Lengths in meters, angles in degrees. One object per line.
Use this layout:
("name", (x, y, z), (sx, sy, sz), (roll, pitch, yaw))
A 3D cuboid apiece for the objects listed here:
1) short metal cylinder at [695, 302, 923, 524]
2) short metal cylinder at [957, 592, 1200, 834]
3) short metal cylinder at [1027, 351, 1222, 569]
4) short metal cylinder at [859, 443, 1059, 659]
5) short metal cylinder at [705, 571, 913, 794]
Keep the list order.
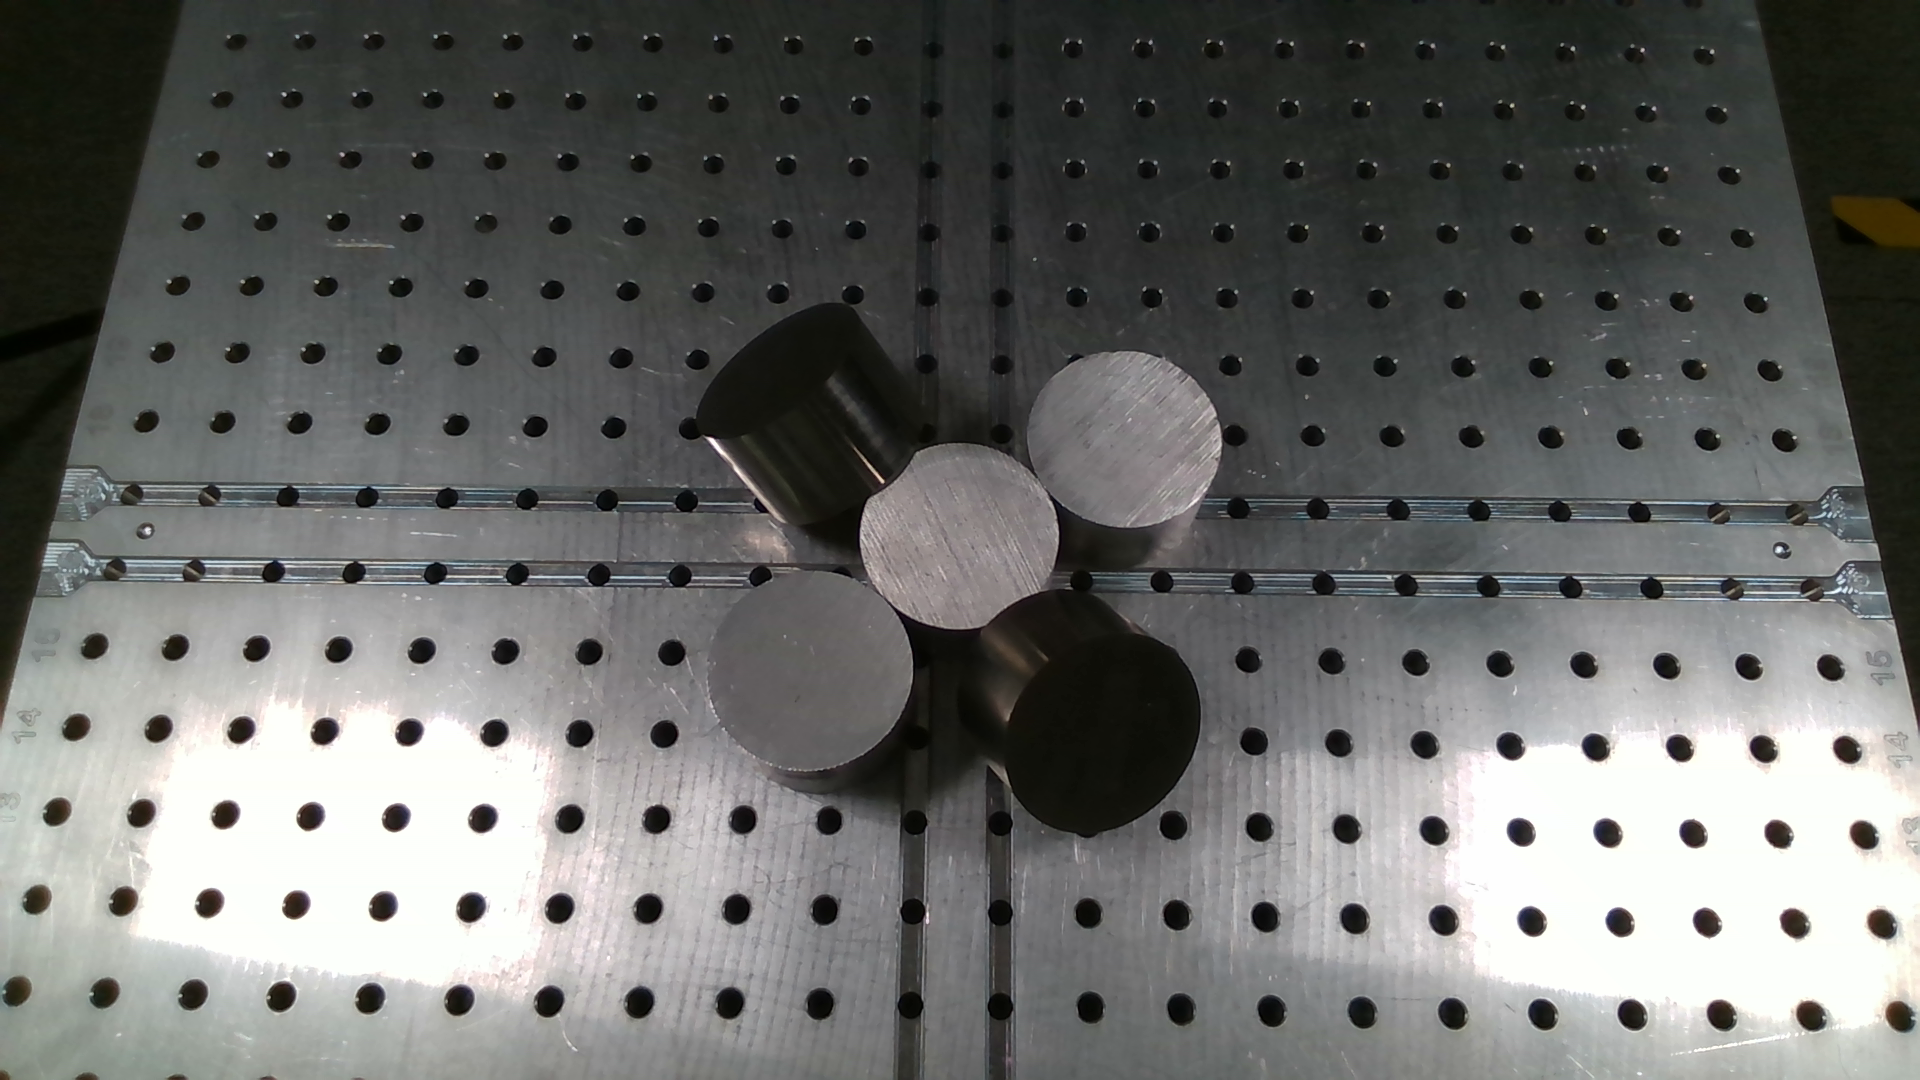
("short metal cylinder", (-0.063, -0.053, 0.574), (0.080, 0.050, 0.080), (-24, 36, 19))
("short metal cylinder", (0.045, 0.066, 0.532), (0.080, 0.050, 0.080), (-6, 108, -19))
("short metal cylinder", (0.068, -0.034, 0.589), (0.080, 0.050, 0.080), (0, 70, 0))
("short metal cylinder", (0.000, 0.006, 0.575), (0.080, 0.050, 0.080), (0, 70, 0))
("short metal cylinder", (-0.059, 0.058, 0.556), (0.080, 0.050, 0.080), (0, 70, 0))
